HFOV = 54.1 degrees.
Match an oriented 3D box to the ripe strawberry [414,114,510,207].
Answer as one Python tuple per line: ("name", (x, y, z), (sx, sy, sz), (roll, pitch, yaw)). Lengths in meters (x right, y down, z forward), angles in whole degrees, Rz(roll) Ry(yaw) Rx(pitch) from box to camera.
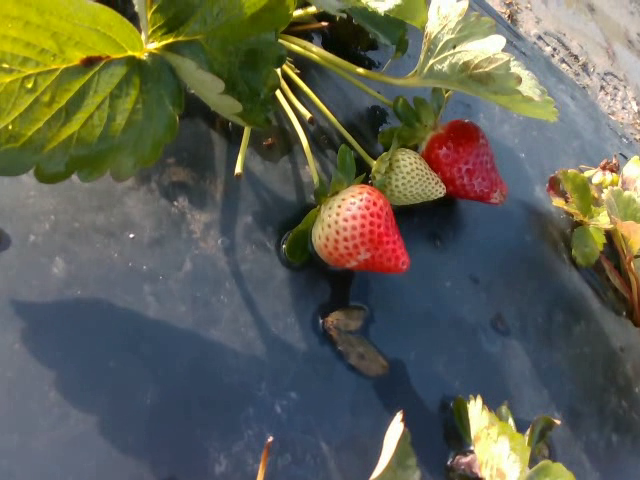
("ripe strawberry", (0.084, -0.039, 0.347), (0.048, 0.065, 0.050), (-41, 9, 1))
